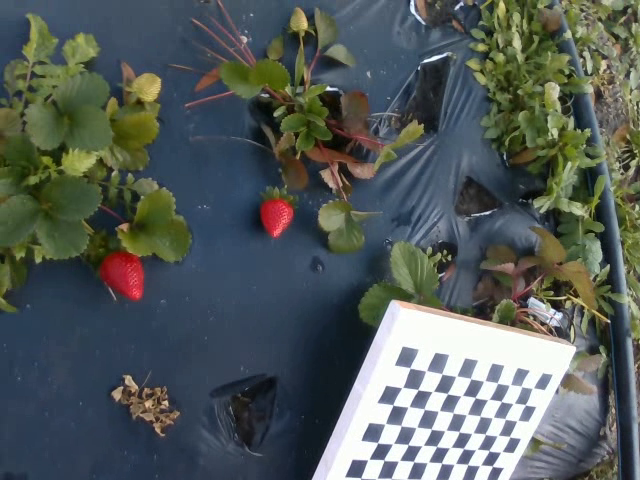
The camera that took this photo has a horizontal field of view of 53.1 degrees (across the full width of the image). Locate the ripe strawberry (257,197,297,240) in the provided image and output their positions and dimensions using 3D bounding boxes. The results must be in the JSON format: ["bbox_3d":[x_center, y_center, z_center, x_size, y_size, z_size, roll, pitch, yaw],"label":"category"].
[{"bbox_3d":[-0.045,-0.018,0.636,0.041,0.052,0.045,-16,-39,26],"label":"ripe strawberry"}]

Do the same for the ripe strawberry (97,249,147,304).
[{"bbox_3d":[-0.175,0.037,0.567,0.050,0.046,0.050,15,31,-43],"label":"ripe strawberry"}]
